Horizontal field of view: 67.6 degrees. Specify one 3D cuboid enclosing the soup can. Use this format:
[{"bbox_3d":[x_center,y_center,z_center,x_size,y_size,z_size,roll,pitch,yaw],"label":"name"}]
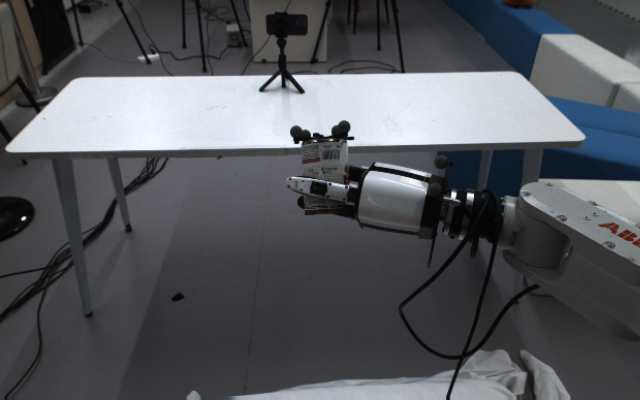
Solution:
[{"bbox_3d":[0.010,-0.031,0.679,0.067,0.101,0.067,-3,-1,0],"label":"soup can"}]
